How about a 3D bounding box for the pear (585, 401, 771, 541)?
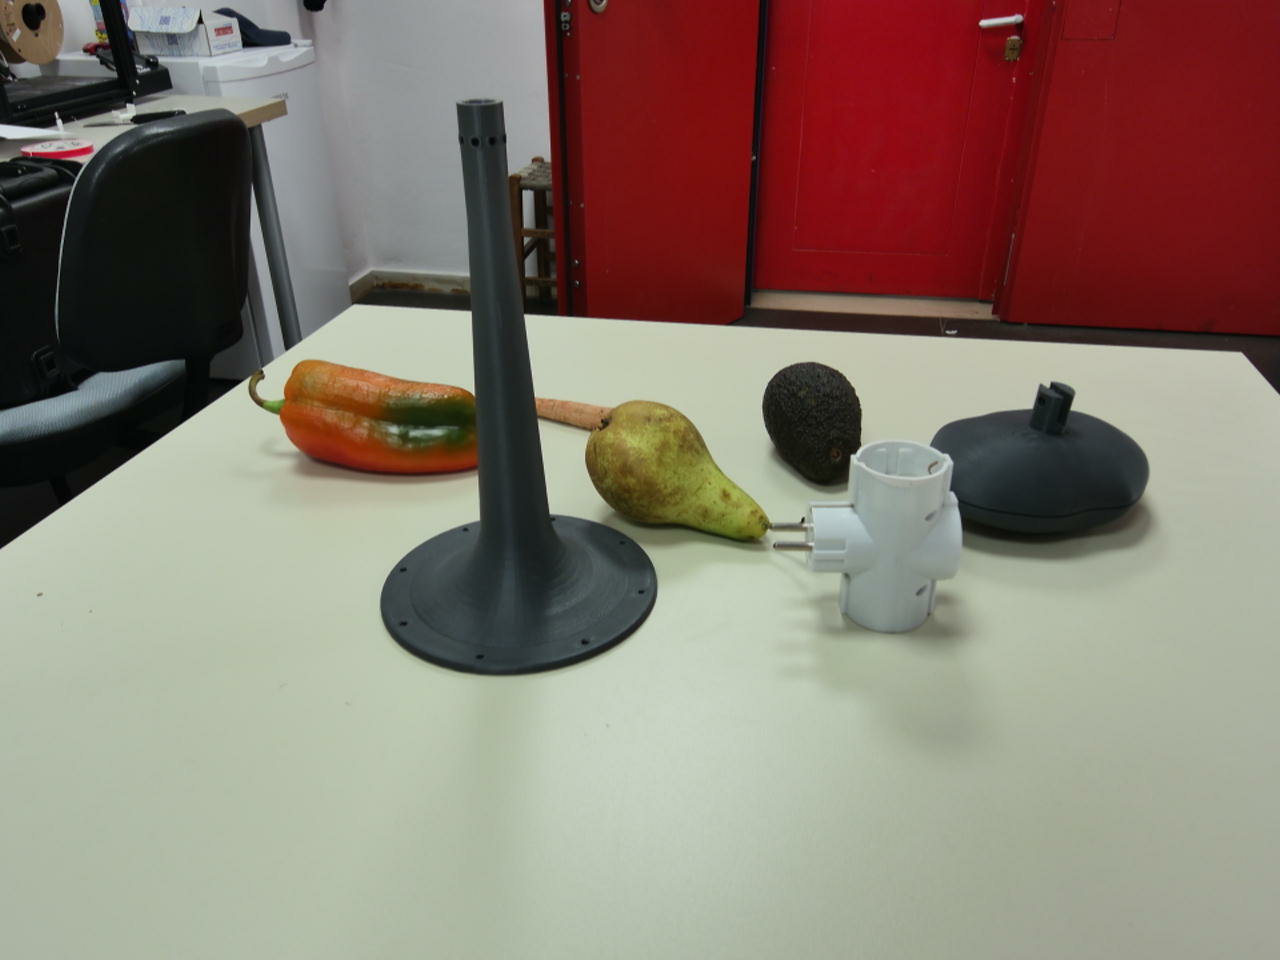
[{"bbox_3d":[0.037,-0.006,0.606,0.144,0.075,0.071,10,28,17],"label":"pear"}]
